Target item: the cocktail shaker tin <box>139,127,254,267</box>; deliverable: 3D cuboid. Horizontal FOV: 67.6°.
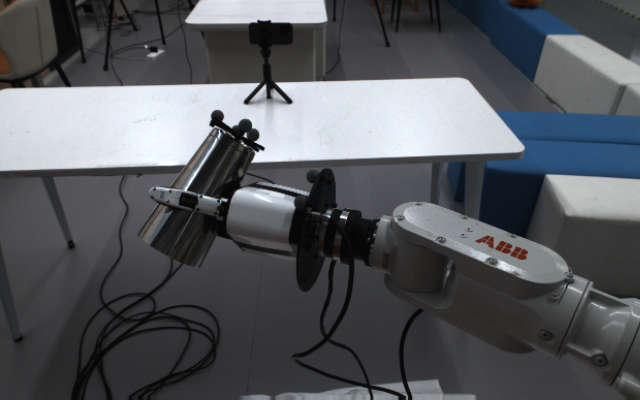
[{"bbox_3d":[-0.158,-0.009,0.646,0.093,0.093,0.170,26,83,31],"label":"cocktail shaker tin"}]
